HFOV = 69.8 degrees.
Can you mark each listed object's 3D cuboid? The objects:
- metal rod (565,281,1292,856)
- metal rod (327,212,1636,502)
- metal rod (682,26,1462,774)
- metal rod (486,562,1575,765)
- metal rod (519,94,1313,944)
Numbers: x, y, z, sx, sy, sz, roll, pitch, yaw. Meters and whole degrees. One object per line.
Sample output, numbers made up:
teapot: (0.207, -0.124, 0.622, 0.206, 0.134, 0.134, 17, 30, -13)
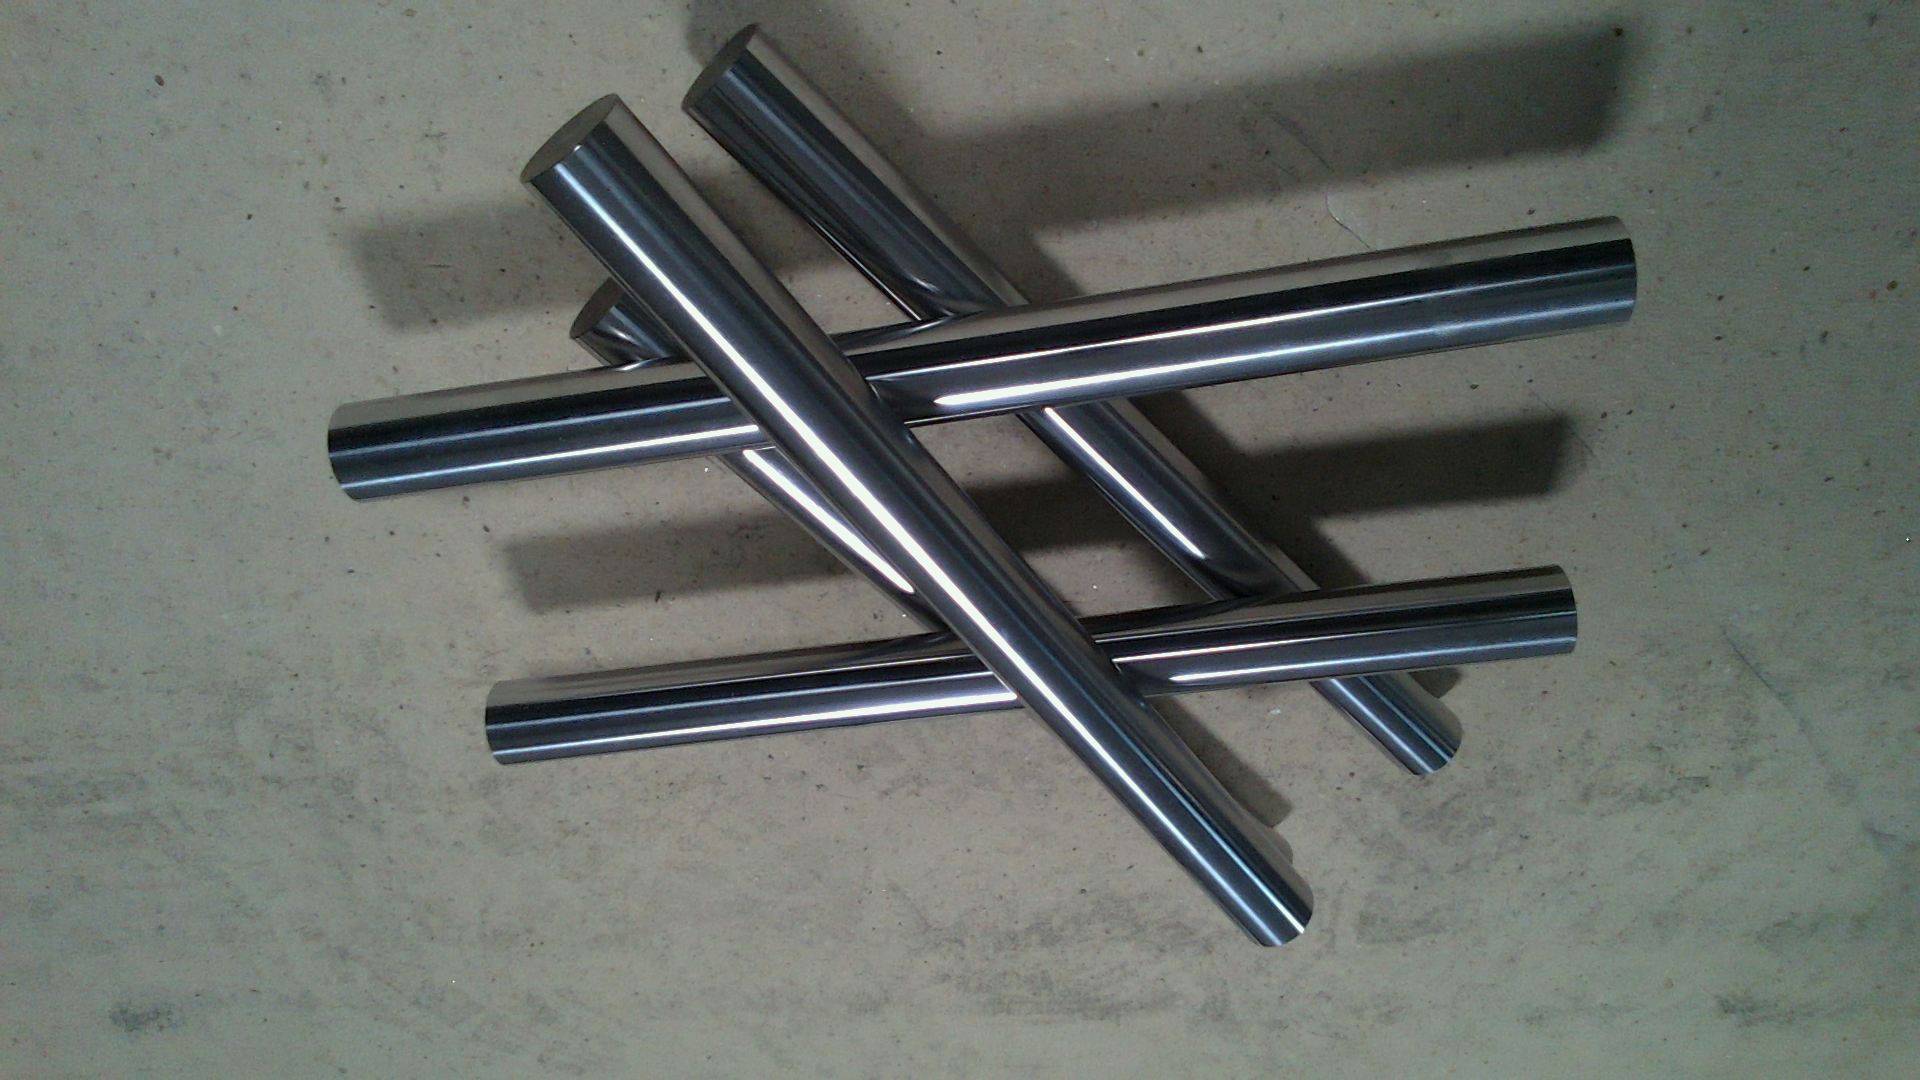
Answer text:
metal rod: (0.009, 0.029, 0.414, 0.025, 0.025, 0.301, -33, 123, 25)
metal rod: (-0.001, -0.041, 0.324, 0.300, 0.025, 0.025, -8, 130, 6)
metal rod: (0.049, -0.020, 0.374, 0.025, 0.025, 0.301, -35, 122, 26)
metal rod: (0.015, 0.036, 0.389, 0.300, 0.025, 0.025, -7, 130, 5)
metal rod: (0.011, 0.018, 0.341, 0.025, 0.025, 0.301, -28, 125, 21)
